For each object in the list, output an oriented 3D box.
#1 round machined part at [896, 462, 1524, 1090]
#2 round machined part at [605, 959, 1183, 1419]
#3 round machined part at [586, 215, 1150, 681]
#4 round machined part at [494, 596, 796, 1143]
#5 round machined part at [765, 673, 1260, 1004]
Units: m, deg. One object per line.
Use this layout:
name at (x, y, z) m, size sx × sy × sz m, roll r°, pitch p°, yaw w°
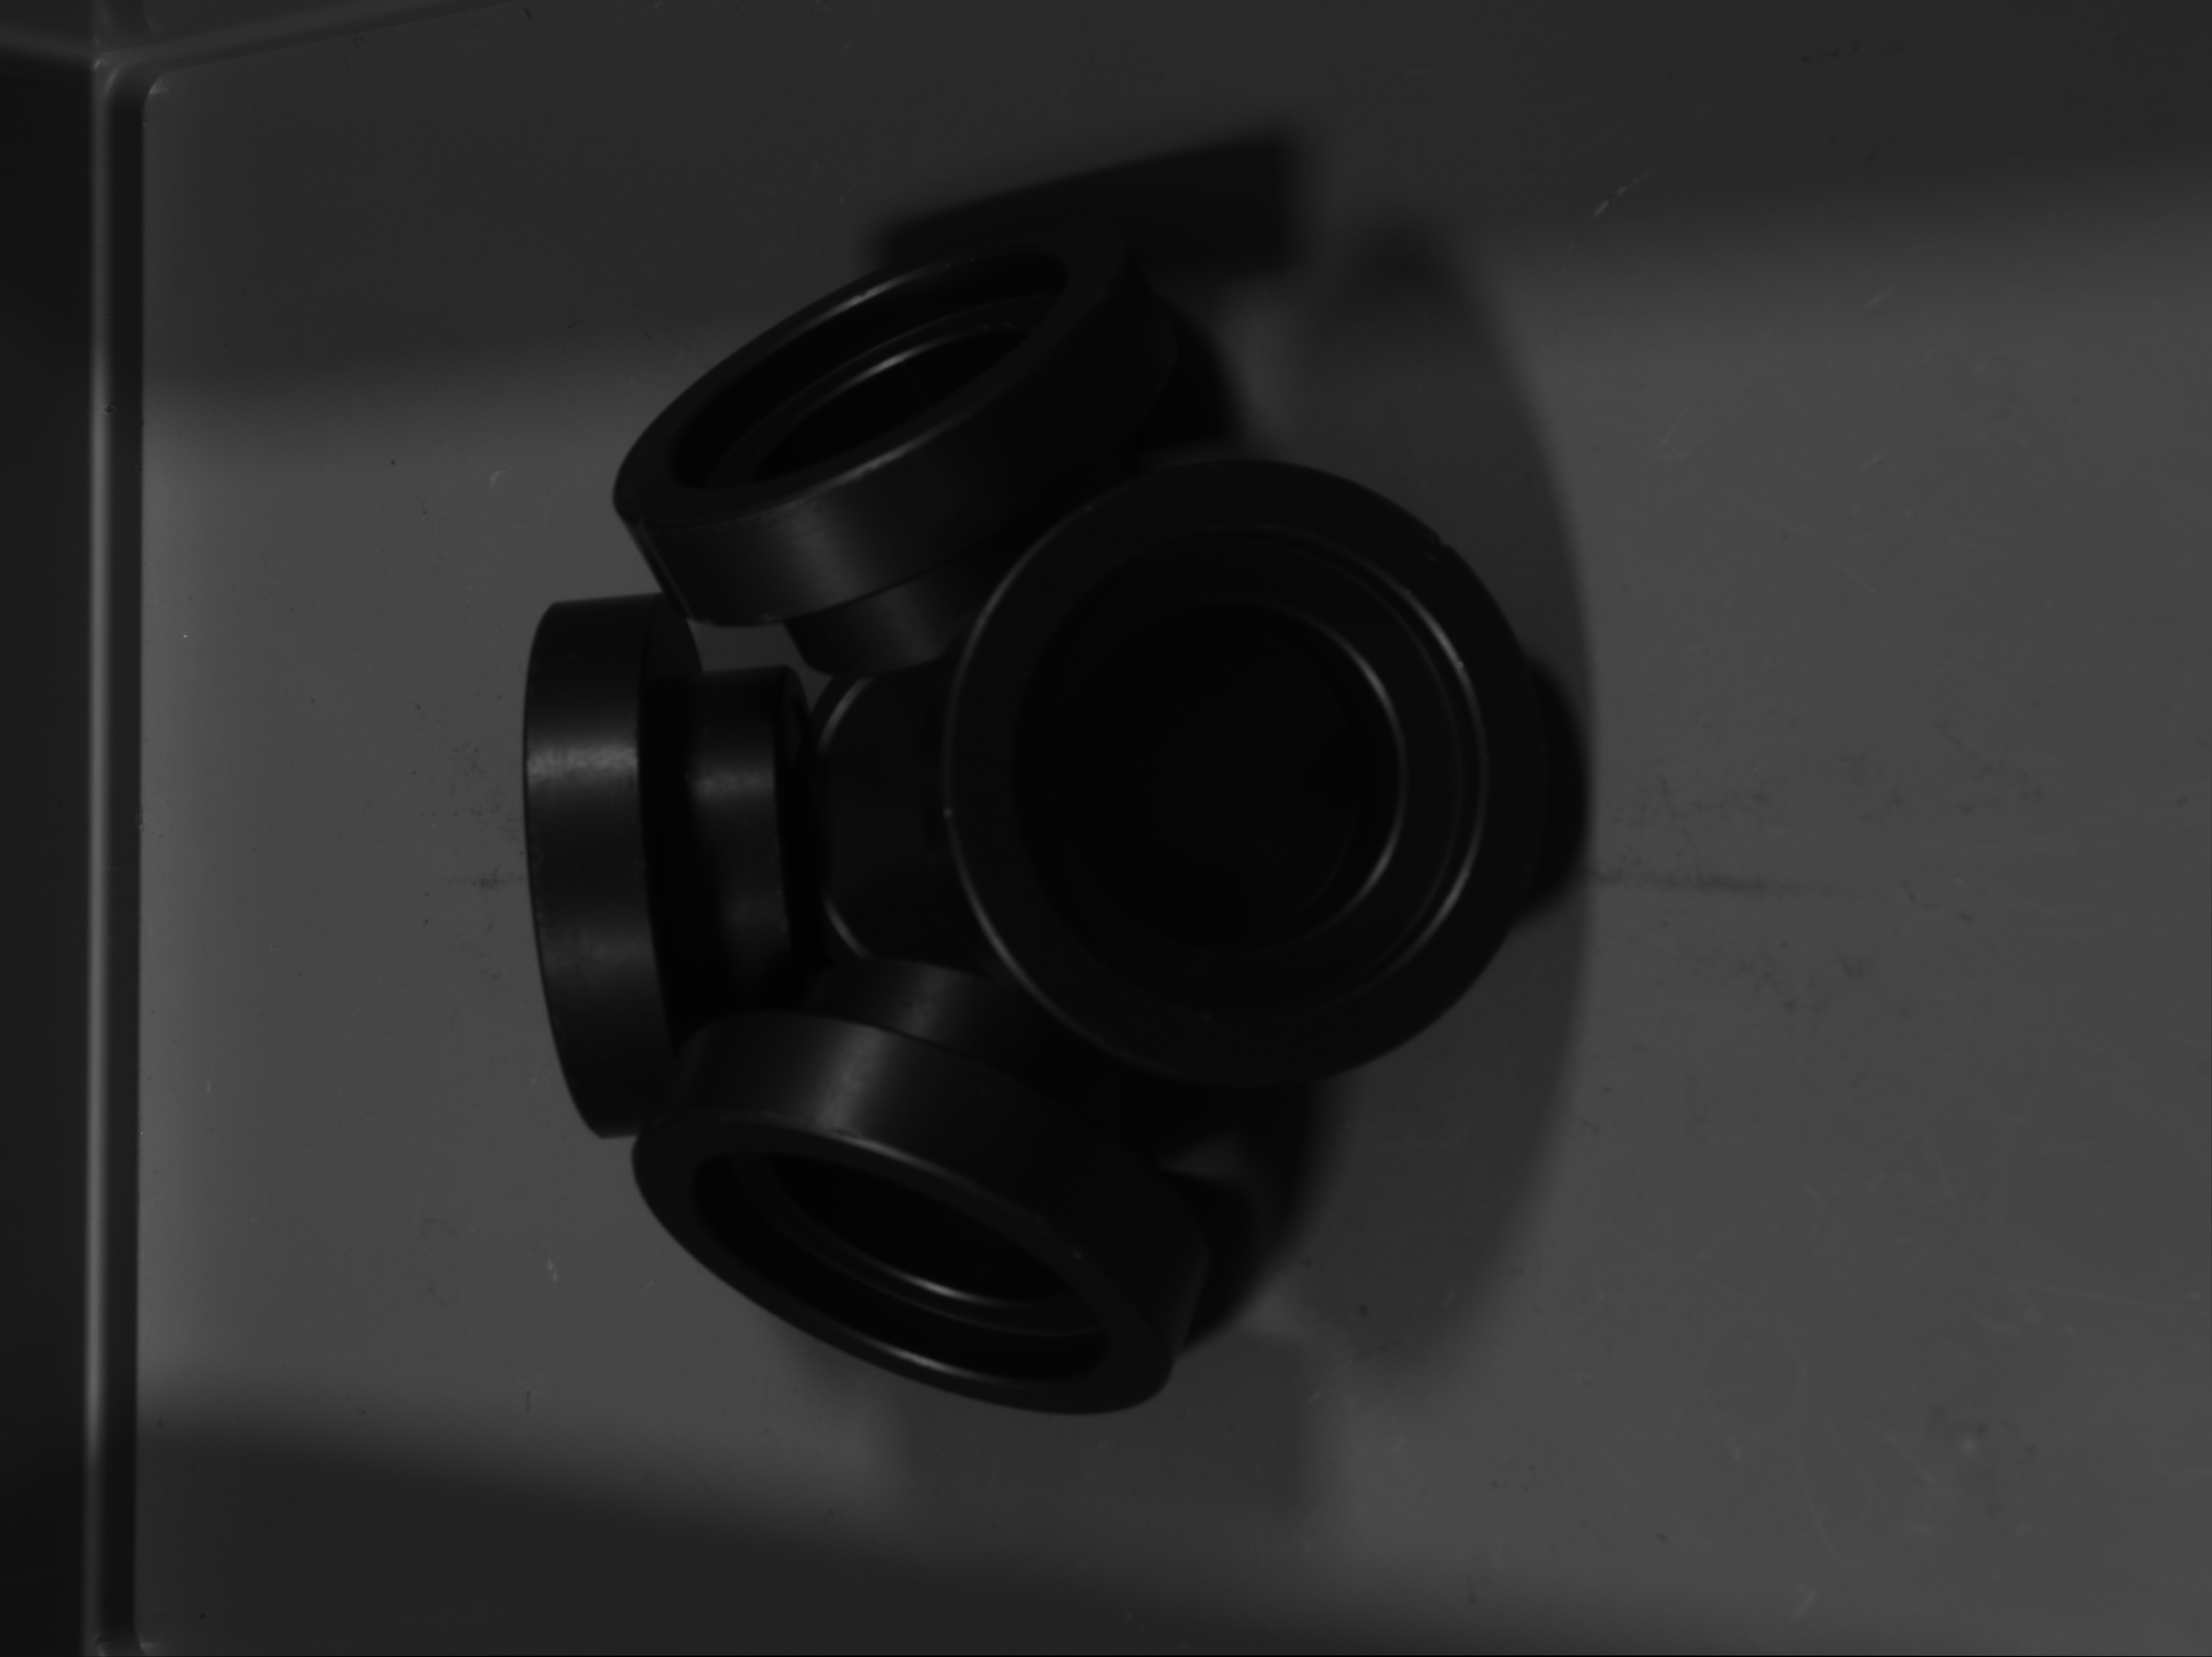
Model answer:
round machined part at (0.014, -0.008, 0.589) m, size 0.042 × 0.098 × 0.098 m, roll 171°, pitch 97°, yaw -75°
round machined part at (-0.032, 0.058, 0.626) m, size 0.098 × 0.098 × 0.042 m, roll -2°, pitch 52°, yaw 39°
round machined part at (-0.036, -0.062, 0.629) m, size 0.098 × 0.098 × 0.042 m, roll -5°, pitch 124°, yaw 39°
round machined part at (-0.080, 0.006, 0.665) m, size 0.042 × 0.098 × 0.098 m, roll -5°, pitch 86°, yaw 2°
round machined part at (-0.022, -0.002, 0.641) m, size 0.098 × 0.042 × 0.098 m, roll 0°, pitch 90°, yaw 39°
